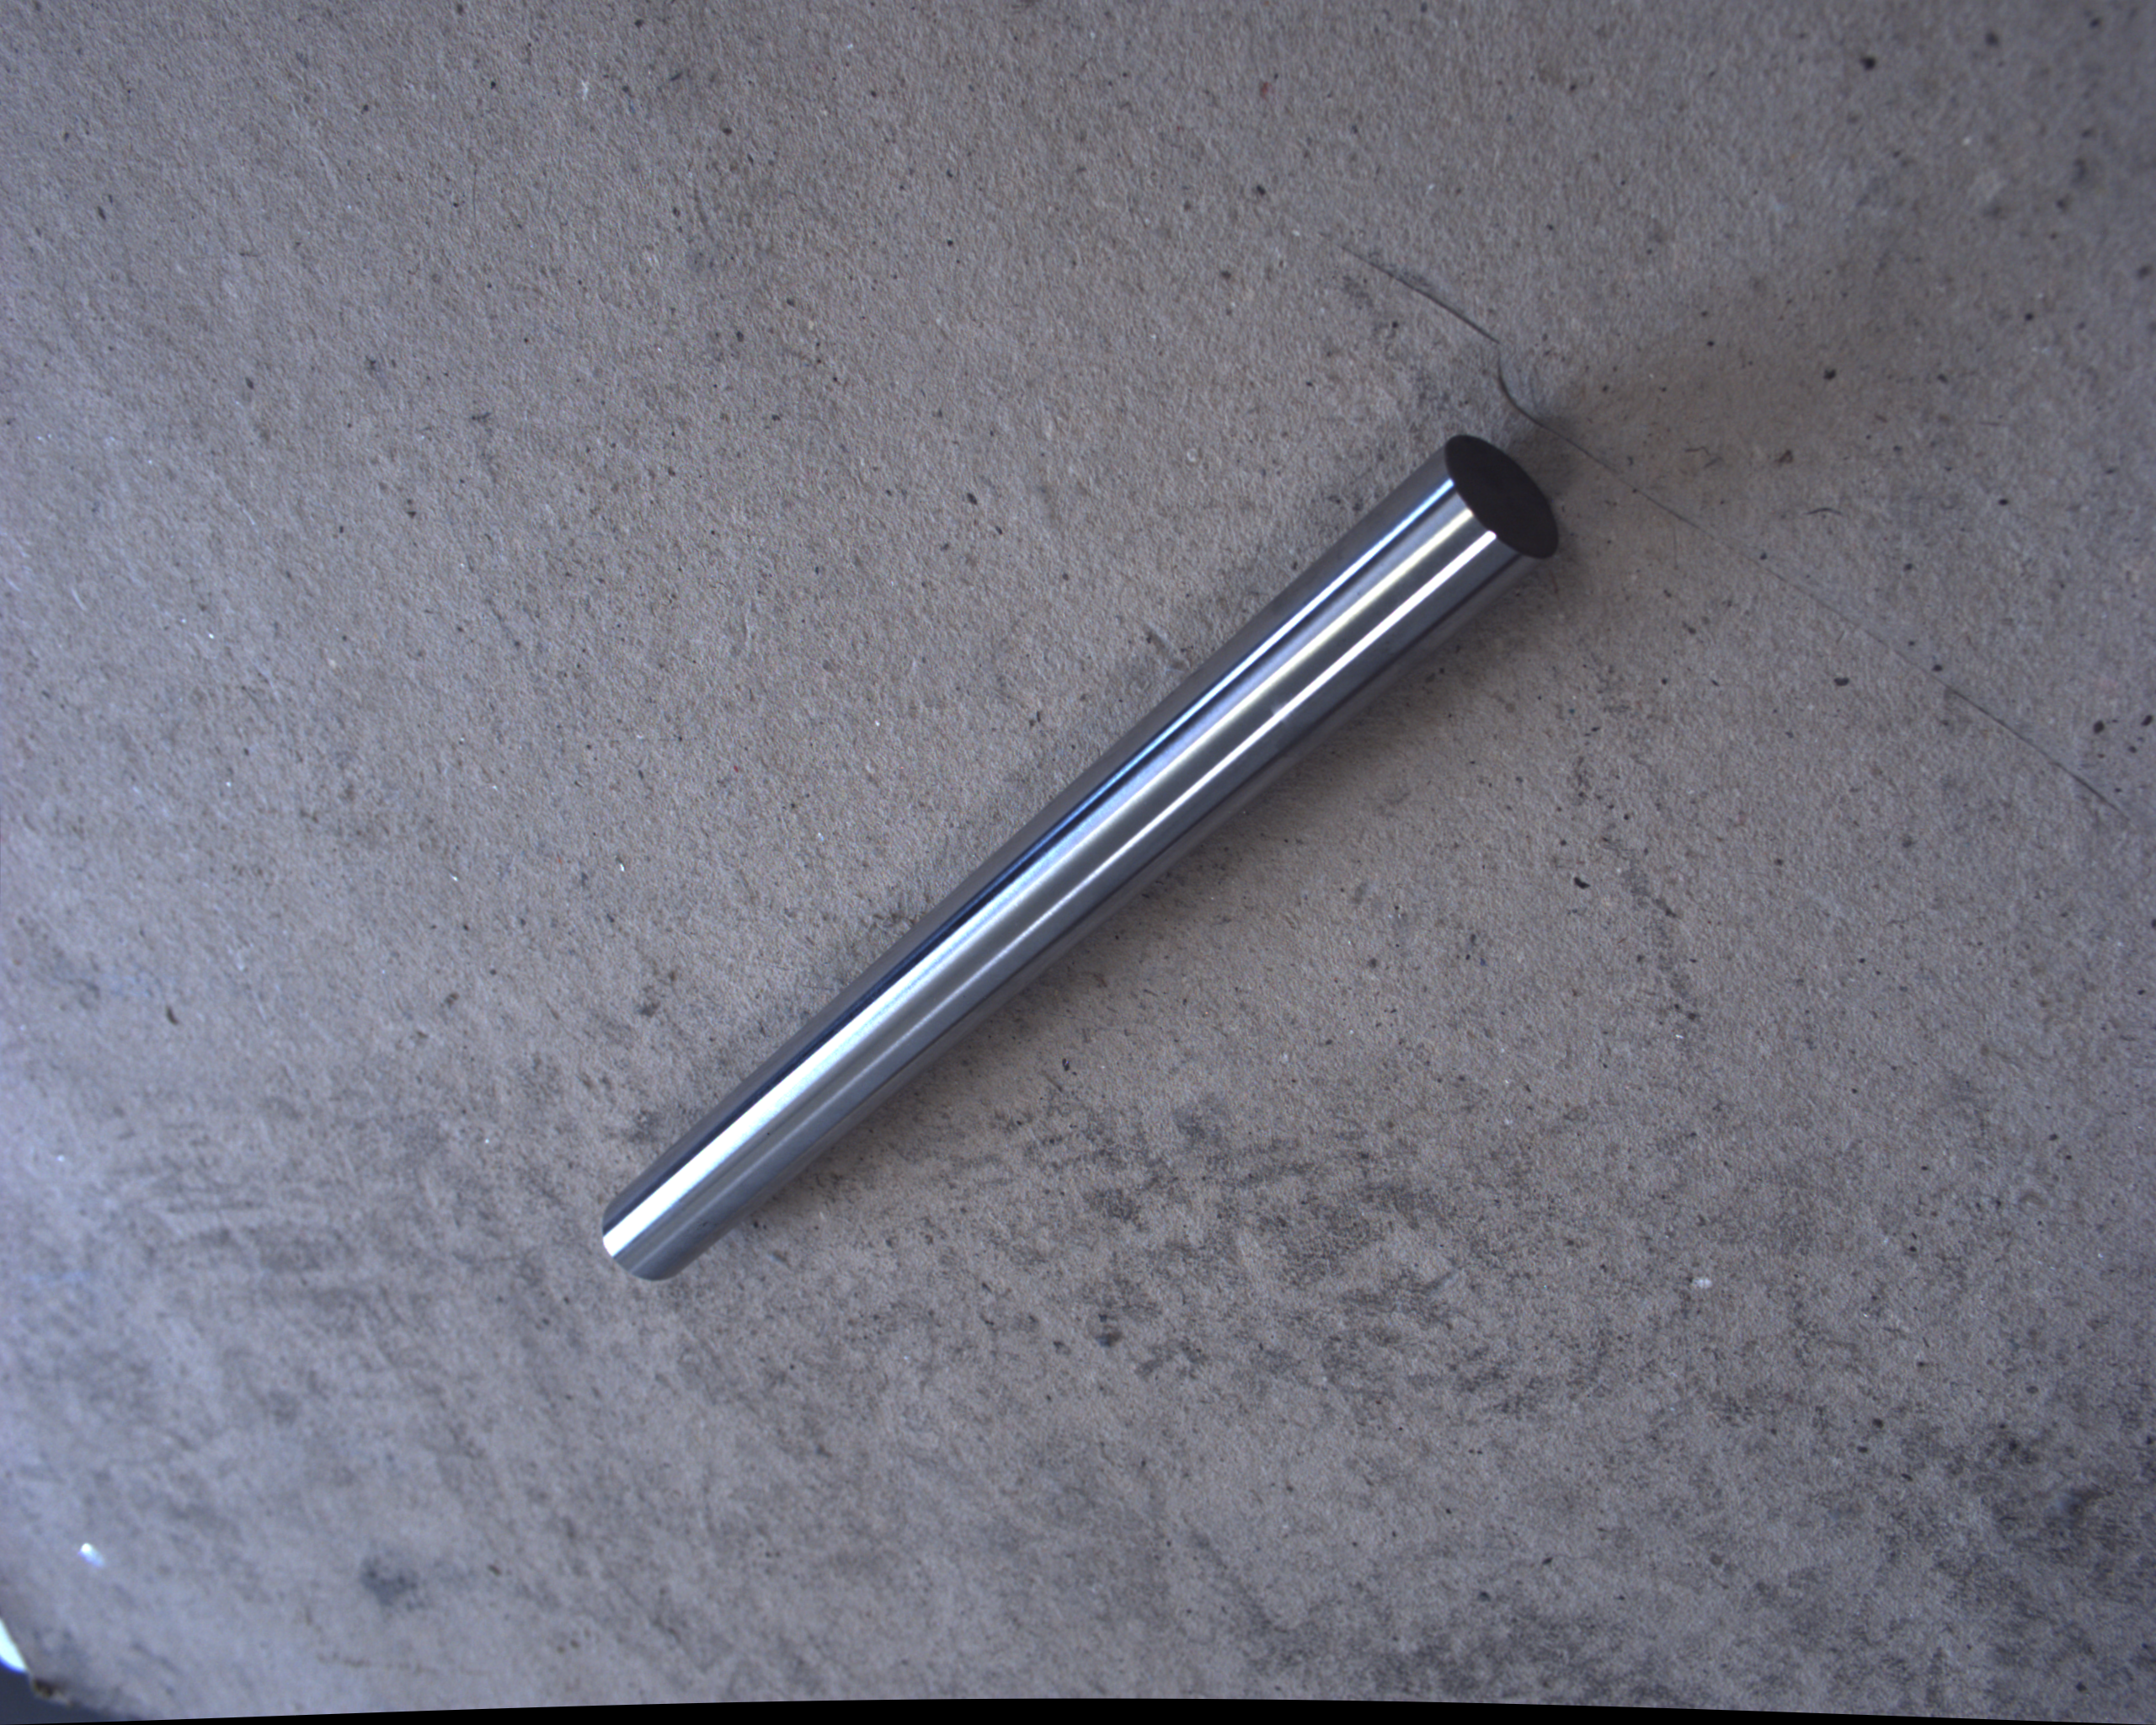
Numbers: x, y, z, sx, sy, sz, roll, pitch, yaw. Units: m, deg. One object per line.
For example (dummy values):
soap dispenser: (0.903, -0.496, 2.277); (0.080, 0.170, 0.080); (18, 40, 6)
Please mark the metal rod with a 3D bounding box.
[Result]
metal rod: (-0.019, 0.017, 0.430); (0.025, 0.025, 0.299); (46, 129, -4)
